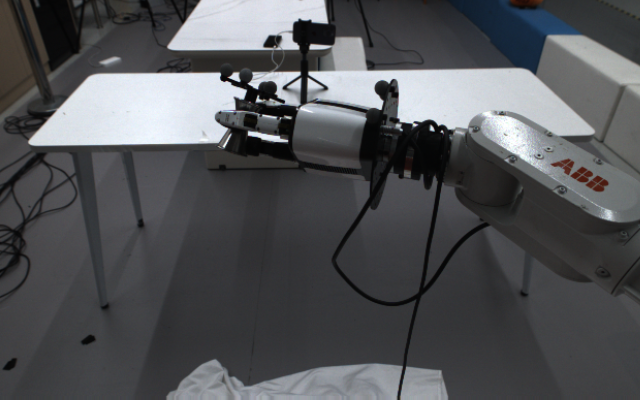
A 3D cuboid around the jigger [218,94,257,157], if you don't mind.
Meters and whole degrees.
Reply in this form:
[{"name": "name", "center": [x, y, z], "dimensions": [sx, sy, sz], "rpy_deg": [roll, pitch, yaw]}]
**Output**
[{"name": "jigger", "center": [-0.105, -0.096, 0.627], "dimensions": [0.043, 0.071, 0.043], "rpy_deg": [22, 6, -2]}]
